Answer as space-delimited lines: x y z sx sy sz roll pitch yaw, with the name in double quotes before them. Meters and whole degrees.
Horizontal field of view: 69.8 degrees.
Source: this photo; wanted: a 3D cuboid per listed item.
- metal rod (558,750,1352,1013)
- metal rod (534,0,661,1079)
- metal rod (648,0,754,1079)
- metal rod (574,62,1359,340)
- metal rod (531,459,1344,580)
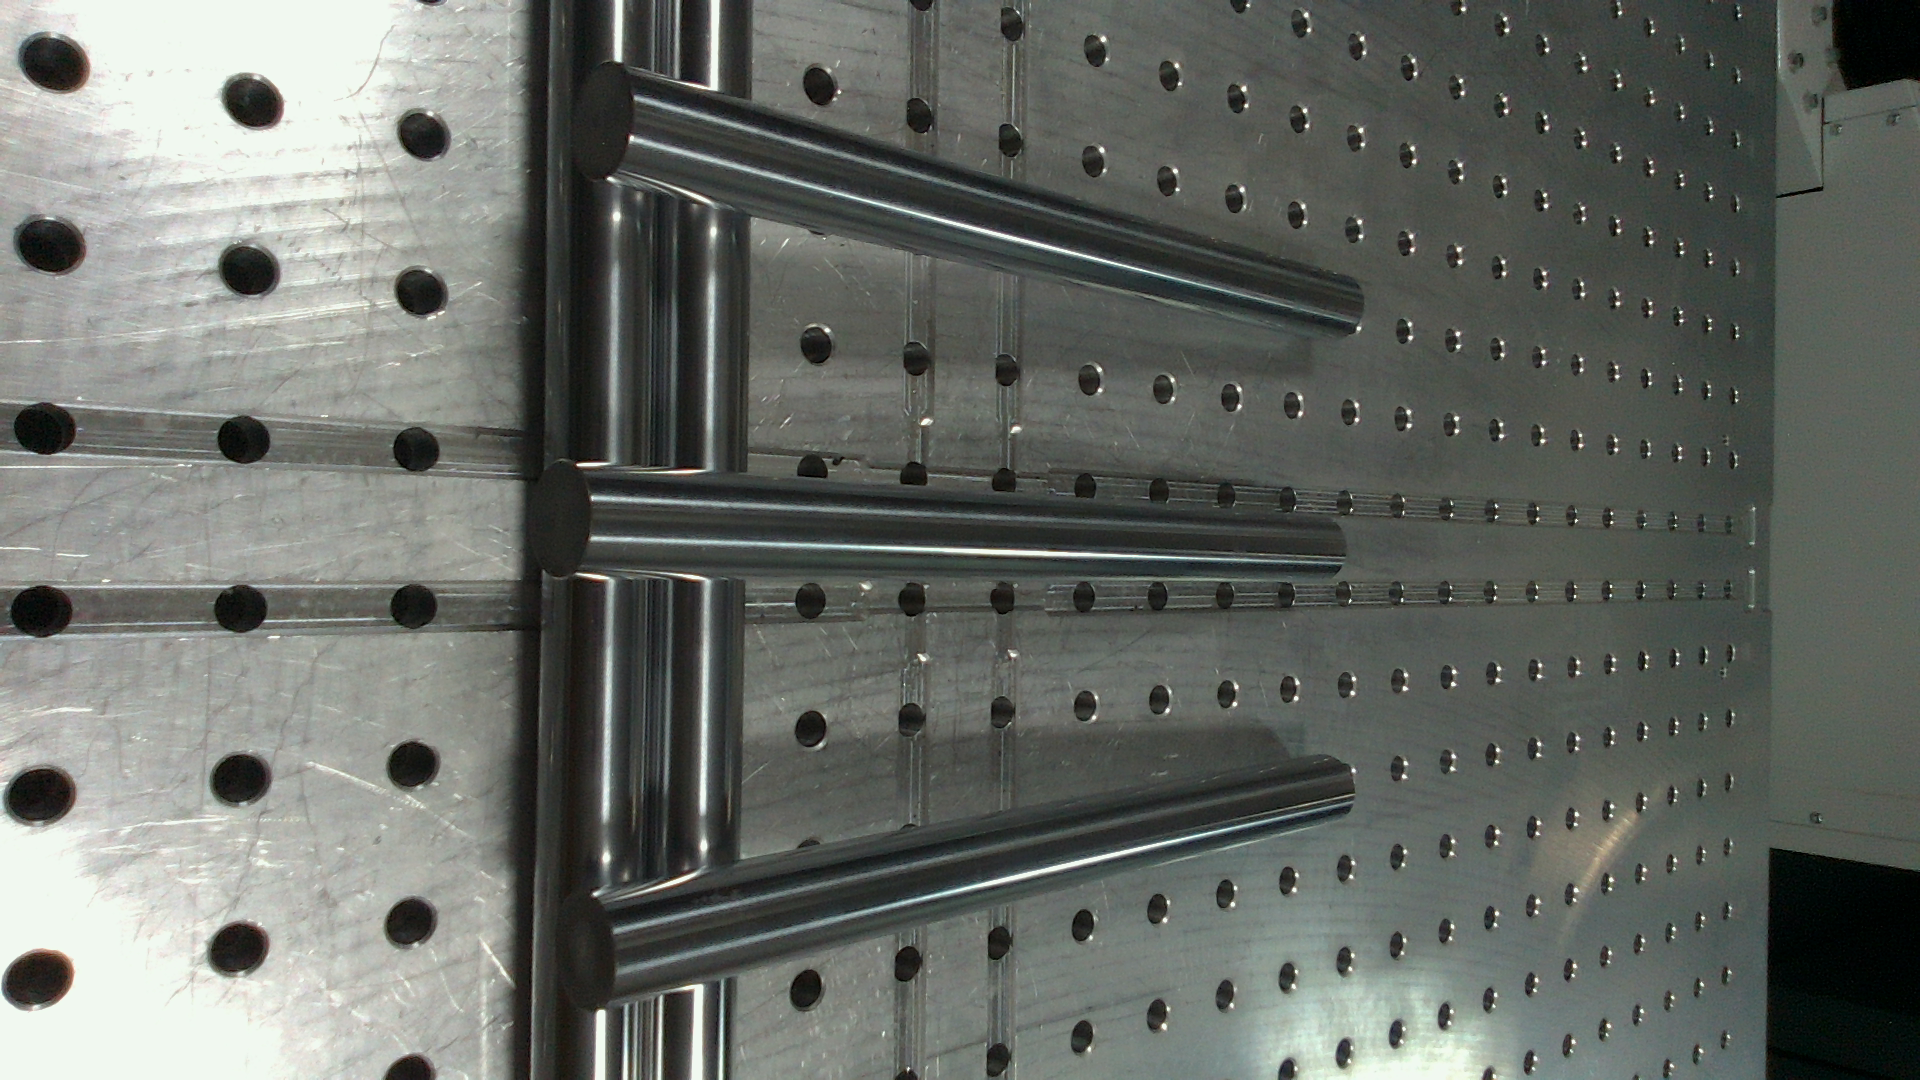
"metal rod" 0.027 0.088 0.396 0.301 0.025 0.025 1 89 -46
"metal rod" -0.084 0.011 0.321 0.025 0.025 0.300 1 89 -40
"metal rod" -0.065 0.004 0.337 0.025 0.025 0.300 1 89 -40
"metal rod" 0.030 -0.087 0.398 0.301 0.025 0.025 1 90 -46
"metal rod" 0.023 -0.001 0.391 0.301 0.025 0.025 2 89 -46
